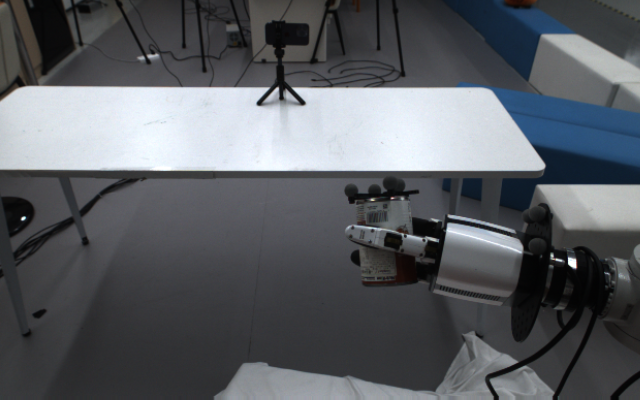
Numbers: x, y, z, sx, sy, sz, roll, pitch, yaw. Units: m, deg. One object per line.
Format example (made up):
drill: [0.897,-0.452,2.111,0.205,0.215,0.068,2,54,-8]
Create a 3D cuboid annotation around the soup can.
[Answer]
soup can: [0.082,0.049,0.582,0.067,0.101,0.067,-5,-5,0]
